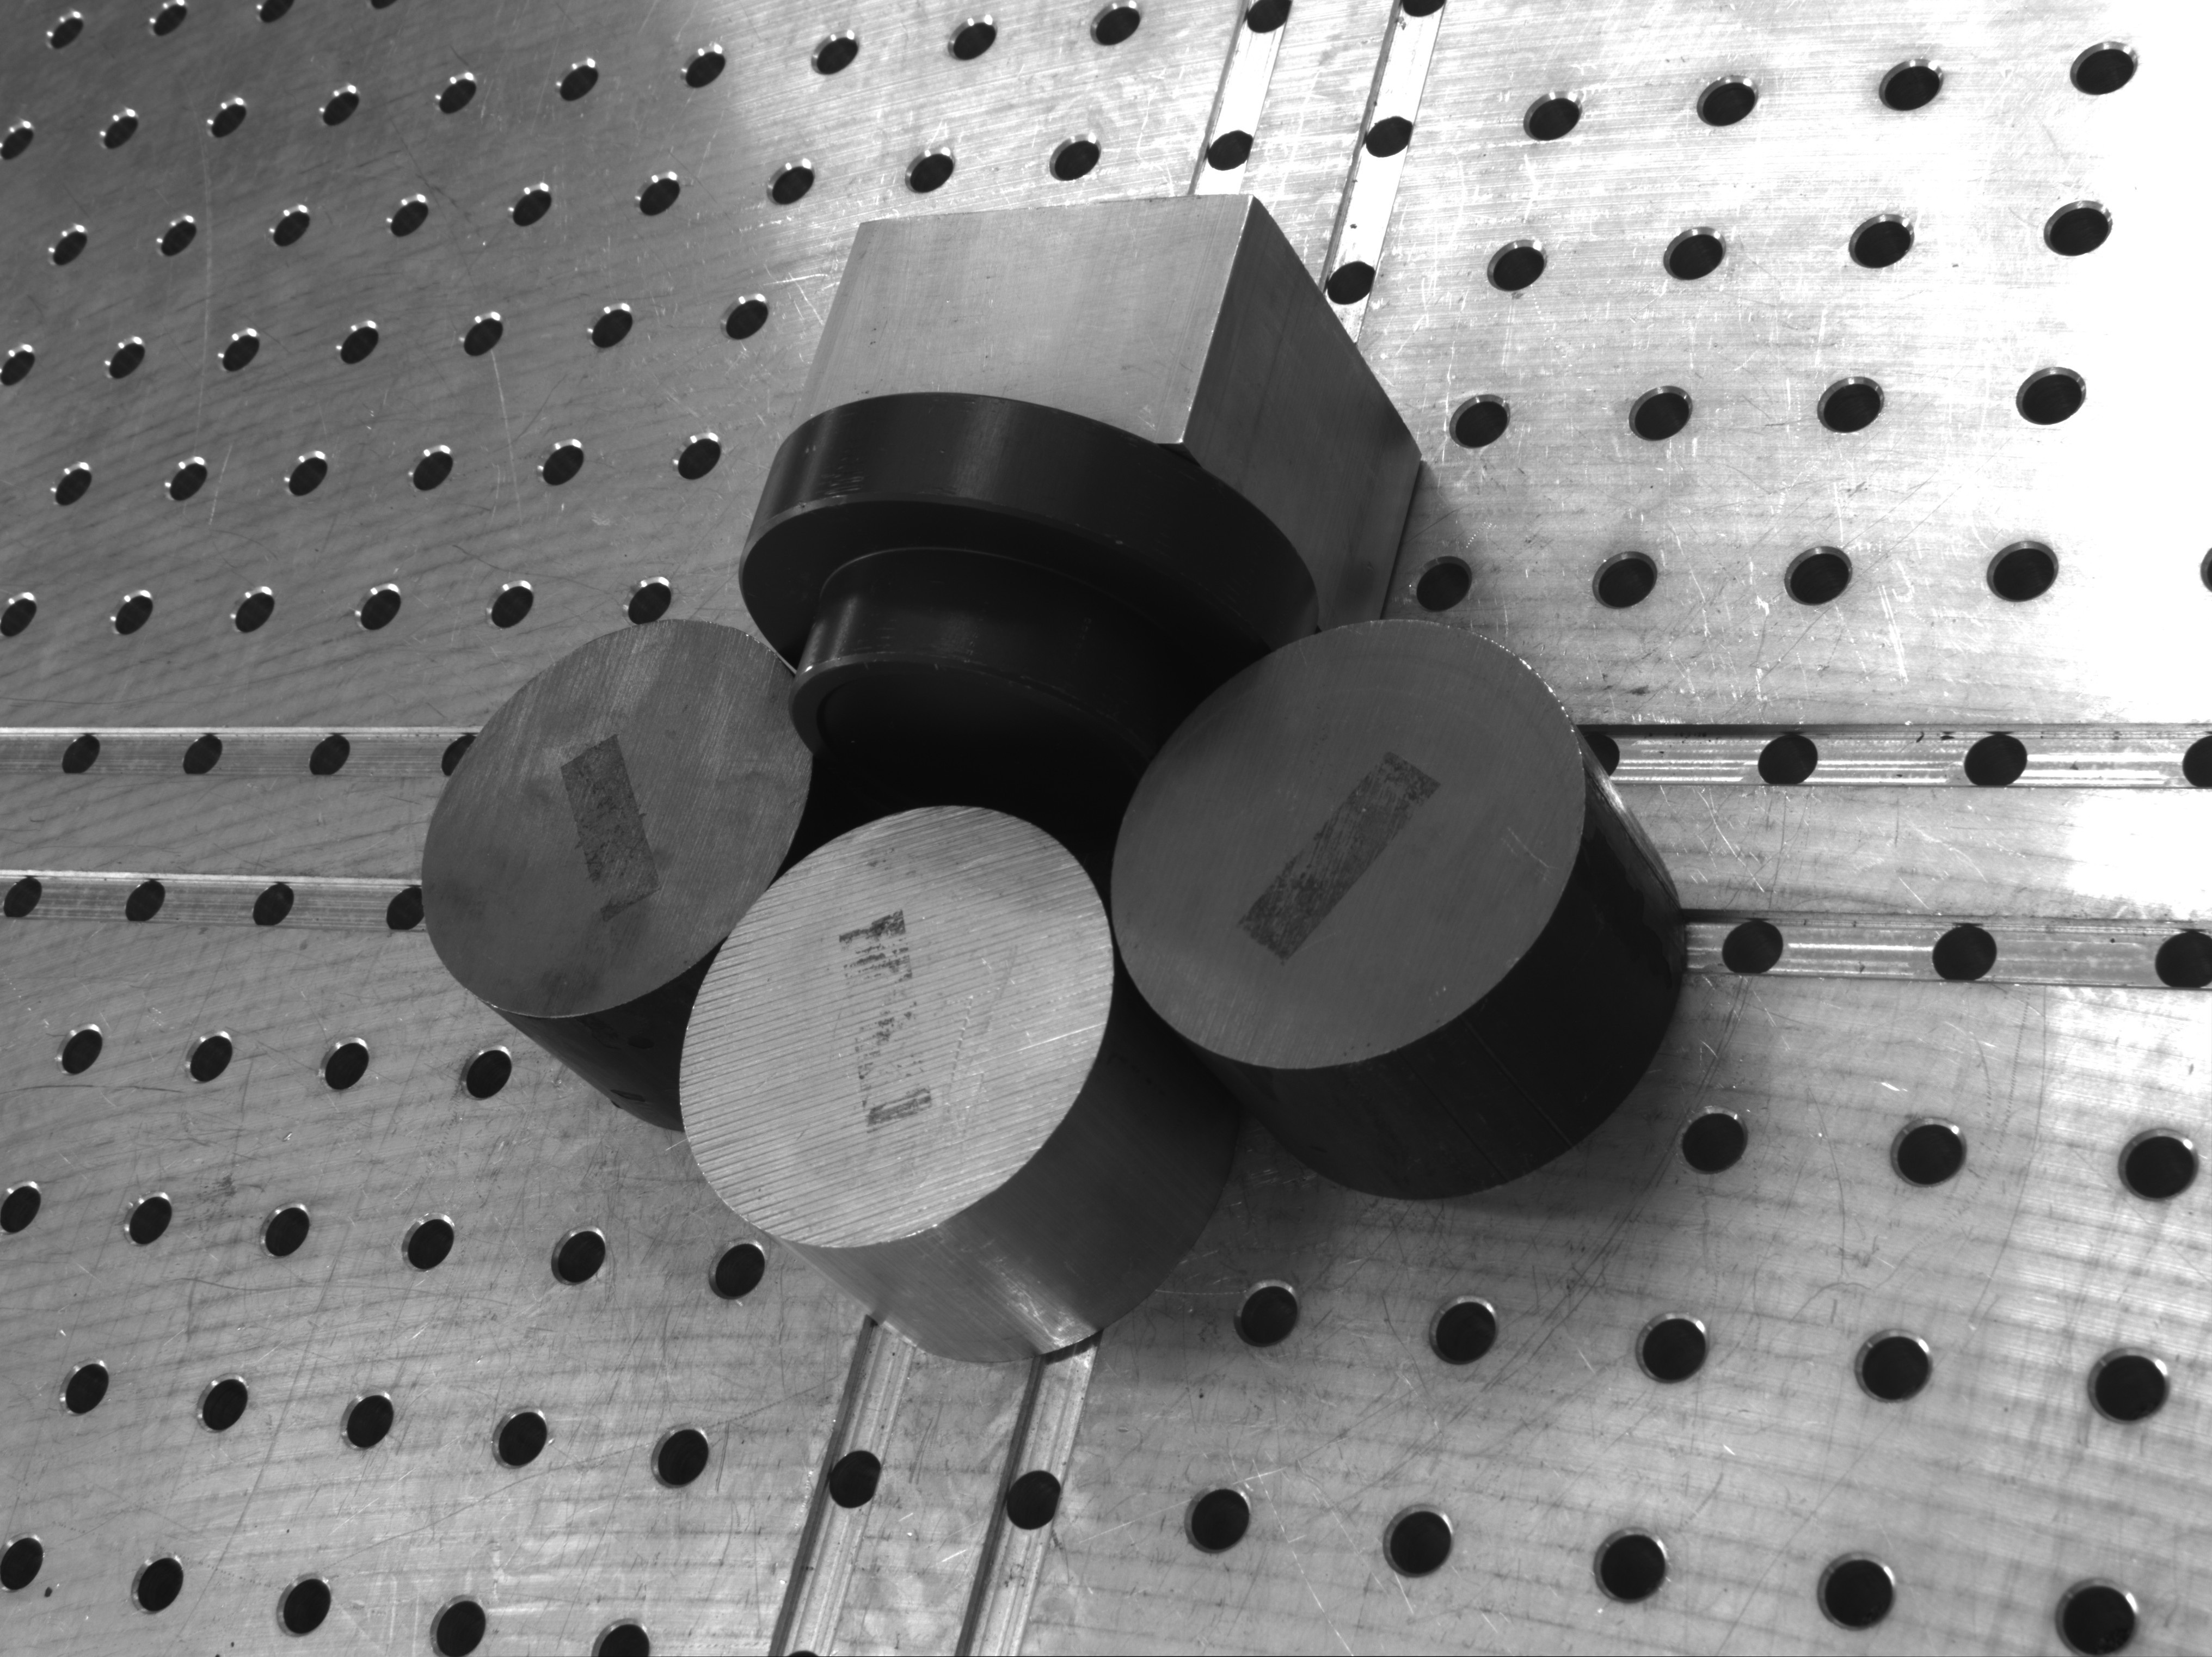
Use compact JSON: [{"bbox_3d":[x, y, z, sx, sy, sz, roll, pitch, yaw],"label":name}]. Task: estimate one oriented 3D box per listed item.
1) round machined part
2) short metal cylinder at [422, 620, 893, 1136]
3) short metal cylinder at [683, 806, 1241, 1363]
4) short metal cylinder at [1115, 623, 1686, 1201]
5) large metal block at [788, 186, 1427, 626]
[{"bbox_3d":[-0.017,-0.030,0.627,0.098,0.098,0.042,2,62,29],"label":"round machined part"},{"bbox_3d":[-0.076,0.009,0.669,0.080,0.050,0.080,-14,56,21],"label":"short metal cylinder"},{"bbox_3d":[-0.024,0.043,0.619,0.080,0.050,0.080,-14,56,21],"label":"short metal cylinder"},{"bbox_3d":[0.048,0.014,0.598,0.080,0.050,0.080,-14,56,21],"label":"short metal cylinder"},{"bbox_3d":[0.001,-0.067,0.653,0.080,0.080,0.050,1,62,29],"label":"large metal block"}]
